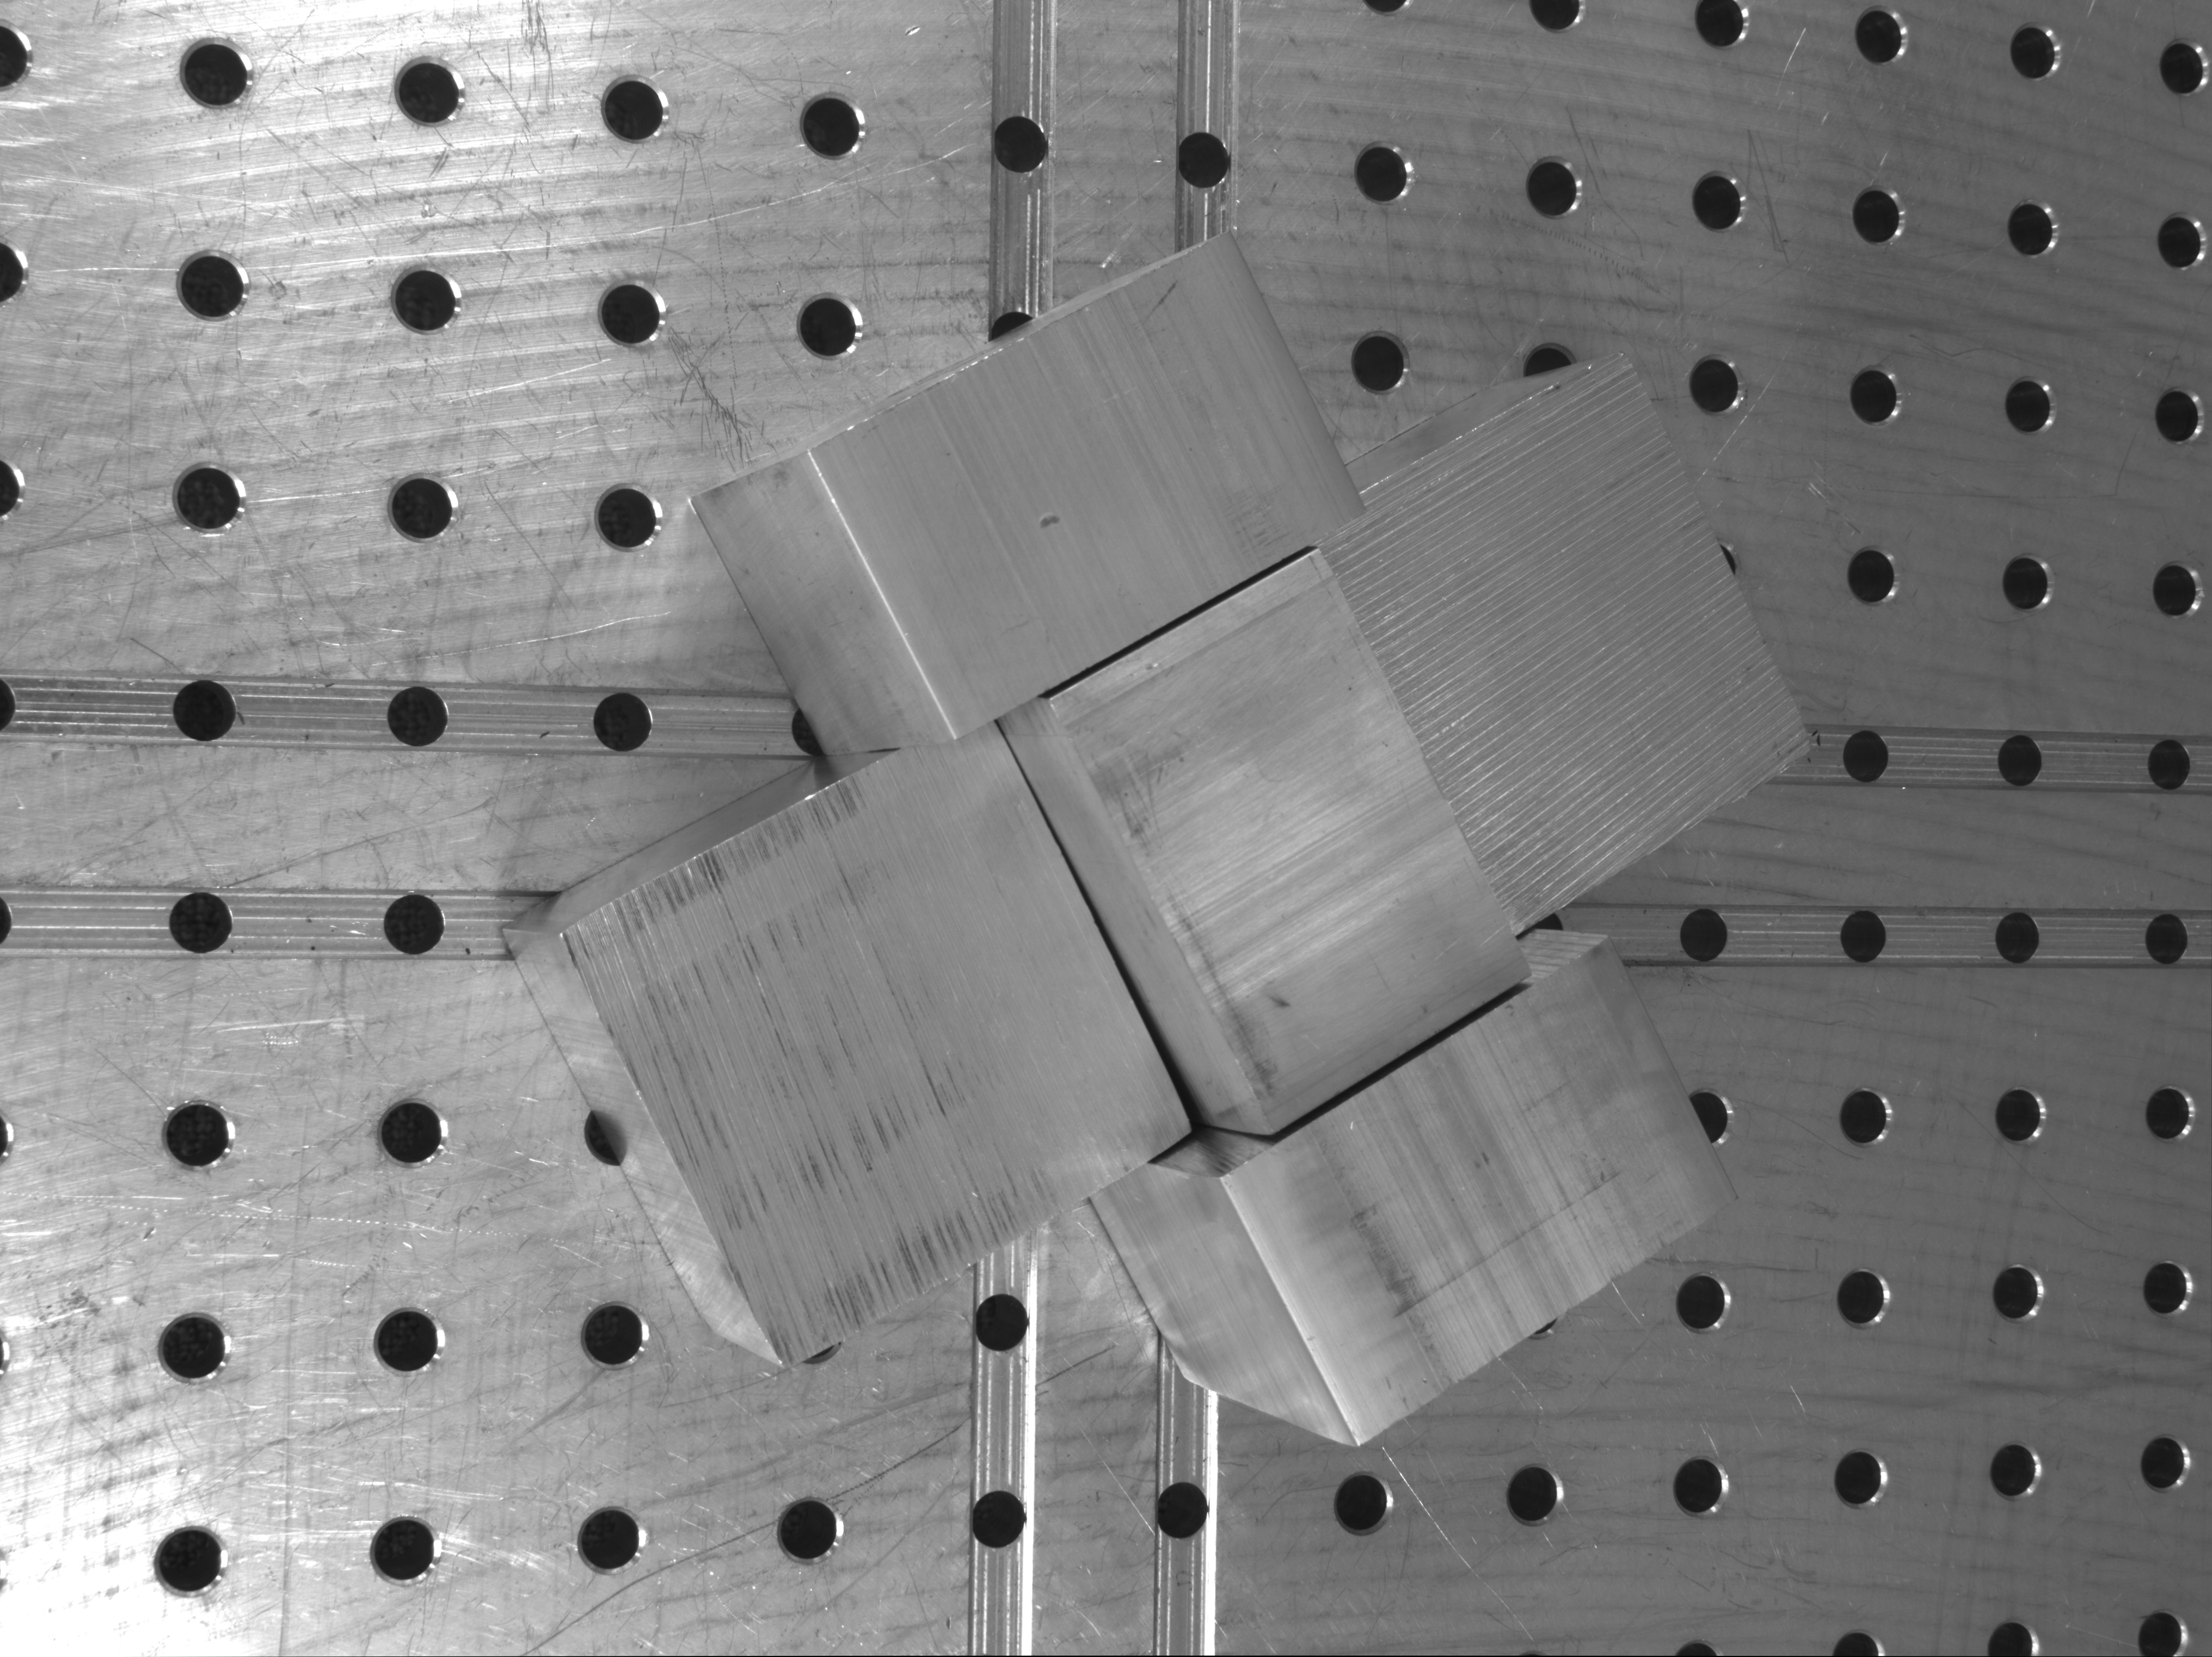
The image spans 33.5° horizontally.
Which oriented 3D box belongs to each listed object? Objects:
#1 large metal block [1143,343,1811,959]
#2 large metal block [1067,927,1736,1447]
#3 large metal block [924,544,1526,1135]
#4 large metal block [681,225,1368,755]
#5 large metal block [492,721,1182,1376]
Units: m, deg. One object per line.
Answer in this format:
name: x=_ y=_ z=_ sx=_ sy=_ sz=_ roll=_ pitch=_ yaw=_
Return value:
large metal block: x=0.066 y=-0.031 z=0.656 sx=0.080 sy=0.050 sz=0.080 roll=-30 pitch=102 yaw=-17
large metal block: x=0.047 y=0.058 z=0.634 sx=0.080 sy=0.080 sz=0.050 roll=-30 pitch=100 yaw=-18
large metal block: x=0.016 y=0.002 z=0.623 sx=0.050 sy=0.080 sz=0.080 roll=-30 pitch=100 yaw=-17
large metal block: x=-0.016 y=-0.054 z=0.610 sx=0.080 sy=0.080 sz=0.050 roll=-30 pitch=99 yaw=-17
large metal block: x=-0.045 y=0.034 z=0.617 sx=0.080 sy=0.050 sz=0.080 roll=-28 pitch=99 yaw=-18
